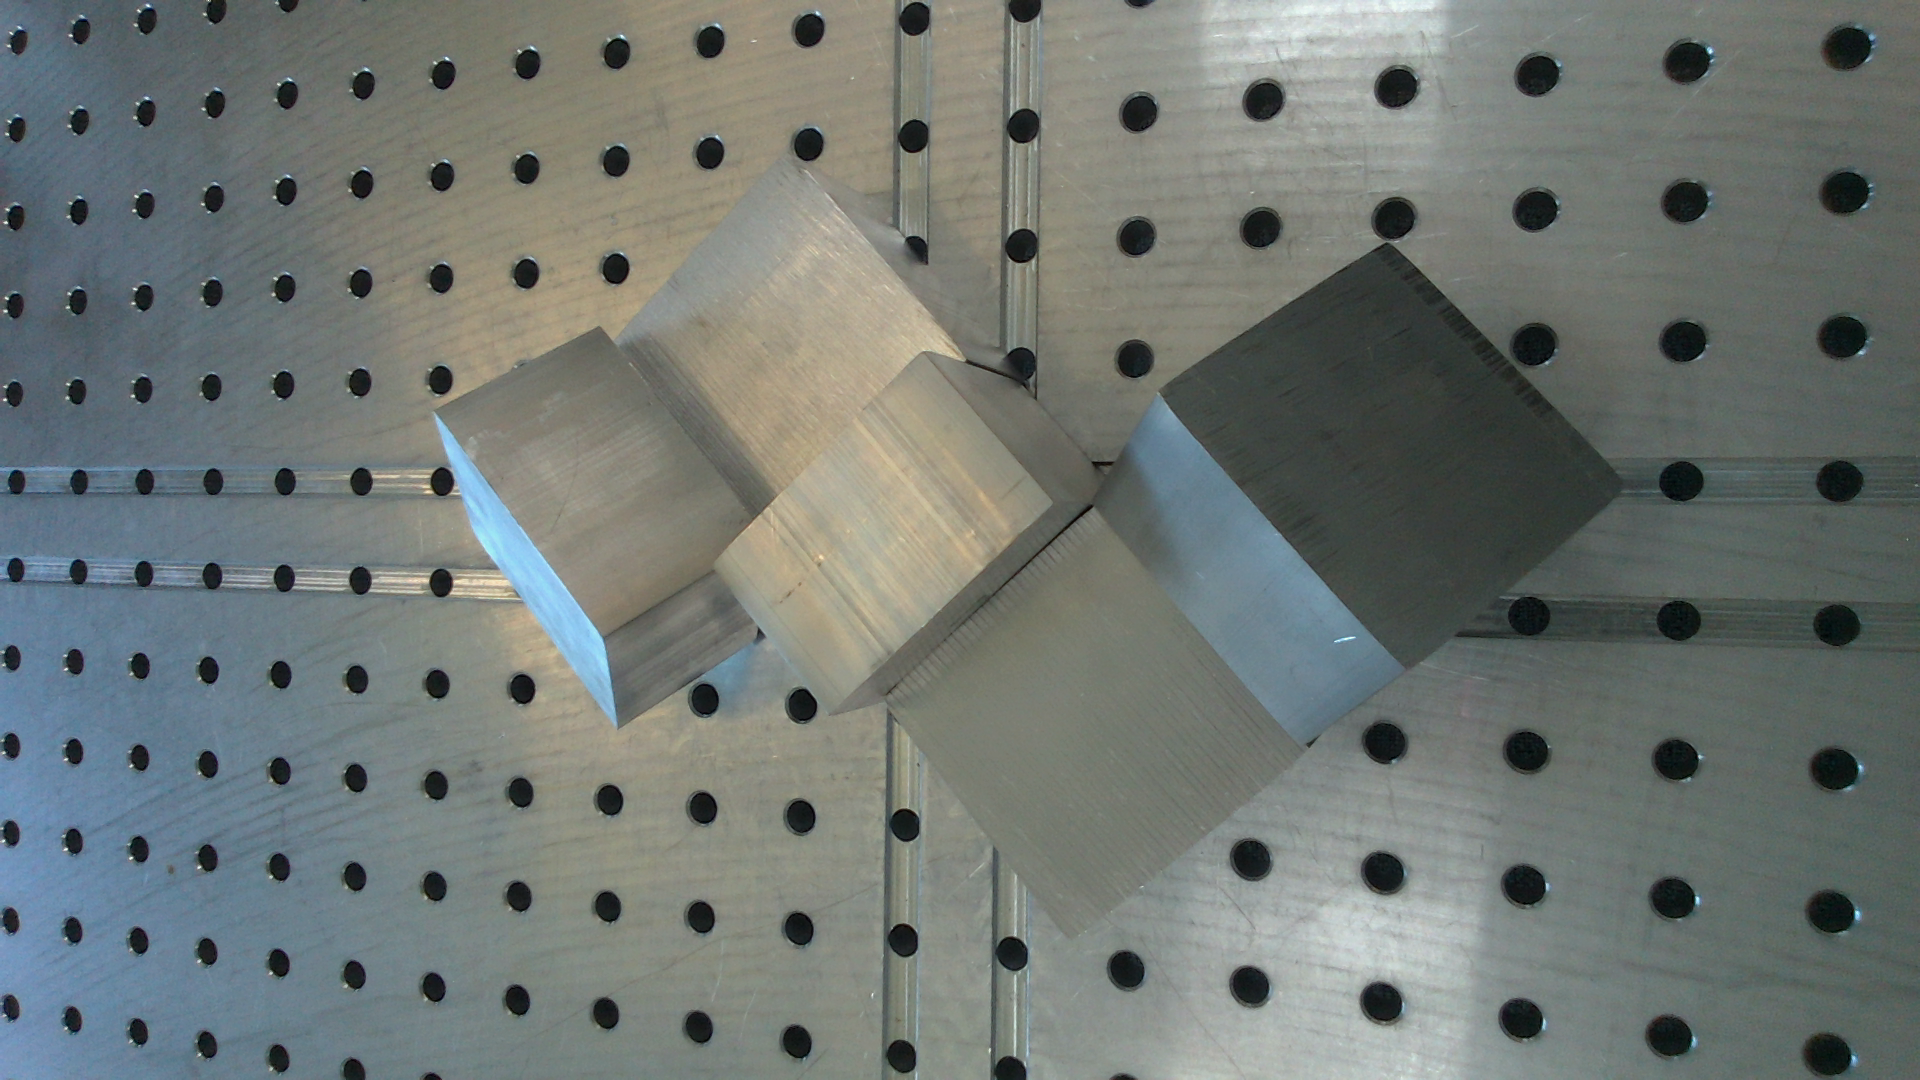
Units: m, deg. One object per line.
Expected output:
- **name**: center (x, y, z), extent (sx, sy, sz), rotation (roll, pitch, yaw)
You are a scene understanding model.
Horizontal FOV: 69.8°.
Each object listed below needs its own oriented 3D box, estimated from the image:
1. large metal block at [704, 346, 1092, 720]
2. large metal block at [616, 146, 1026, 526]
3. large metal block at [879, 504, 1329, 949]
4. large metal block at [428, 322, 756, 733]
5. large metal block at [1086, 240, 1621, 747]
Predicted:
- **large metal block**: center (-0.008, -0.002, 0.371), extent (0.080, 0.080, 0.050), rotation (-44, 78, 15)
- **large metal block**: center (-0.042, -0.051, 0.400), extent (0.080, 0.050, 0.080), rotation (-44, 77, 16)
- **large metal block**: center (0.039, 0.048, 0.371), extent (0.080, 0.050, 0.080), rotation (-43, 75, 15)
- **large metal block**: center (-0.103, -0.001, 0.398), extent (0.050, 0.080, 0.080), rotation (-34, 76, -23)
- **large metal block**: center (0.092, -0.012, 0.330), extent (0.080, 0.050, 0.080), rotation (-34, 76, -24)
